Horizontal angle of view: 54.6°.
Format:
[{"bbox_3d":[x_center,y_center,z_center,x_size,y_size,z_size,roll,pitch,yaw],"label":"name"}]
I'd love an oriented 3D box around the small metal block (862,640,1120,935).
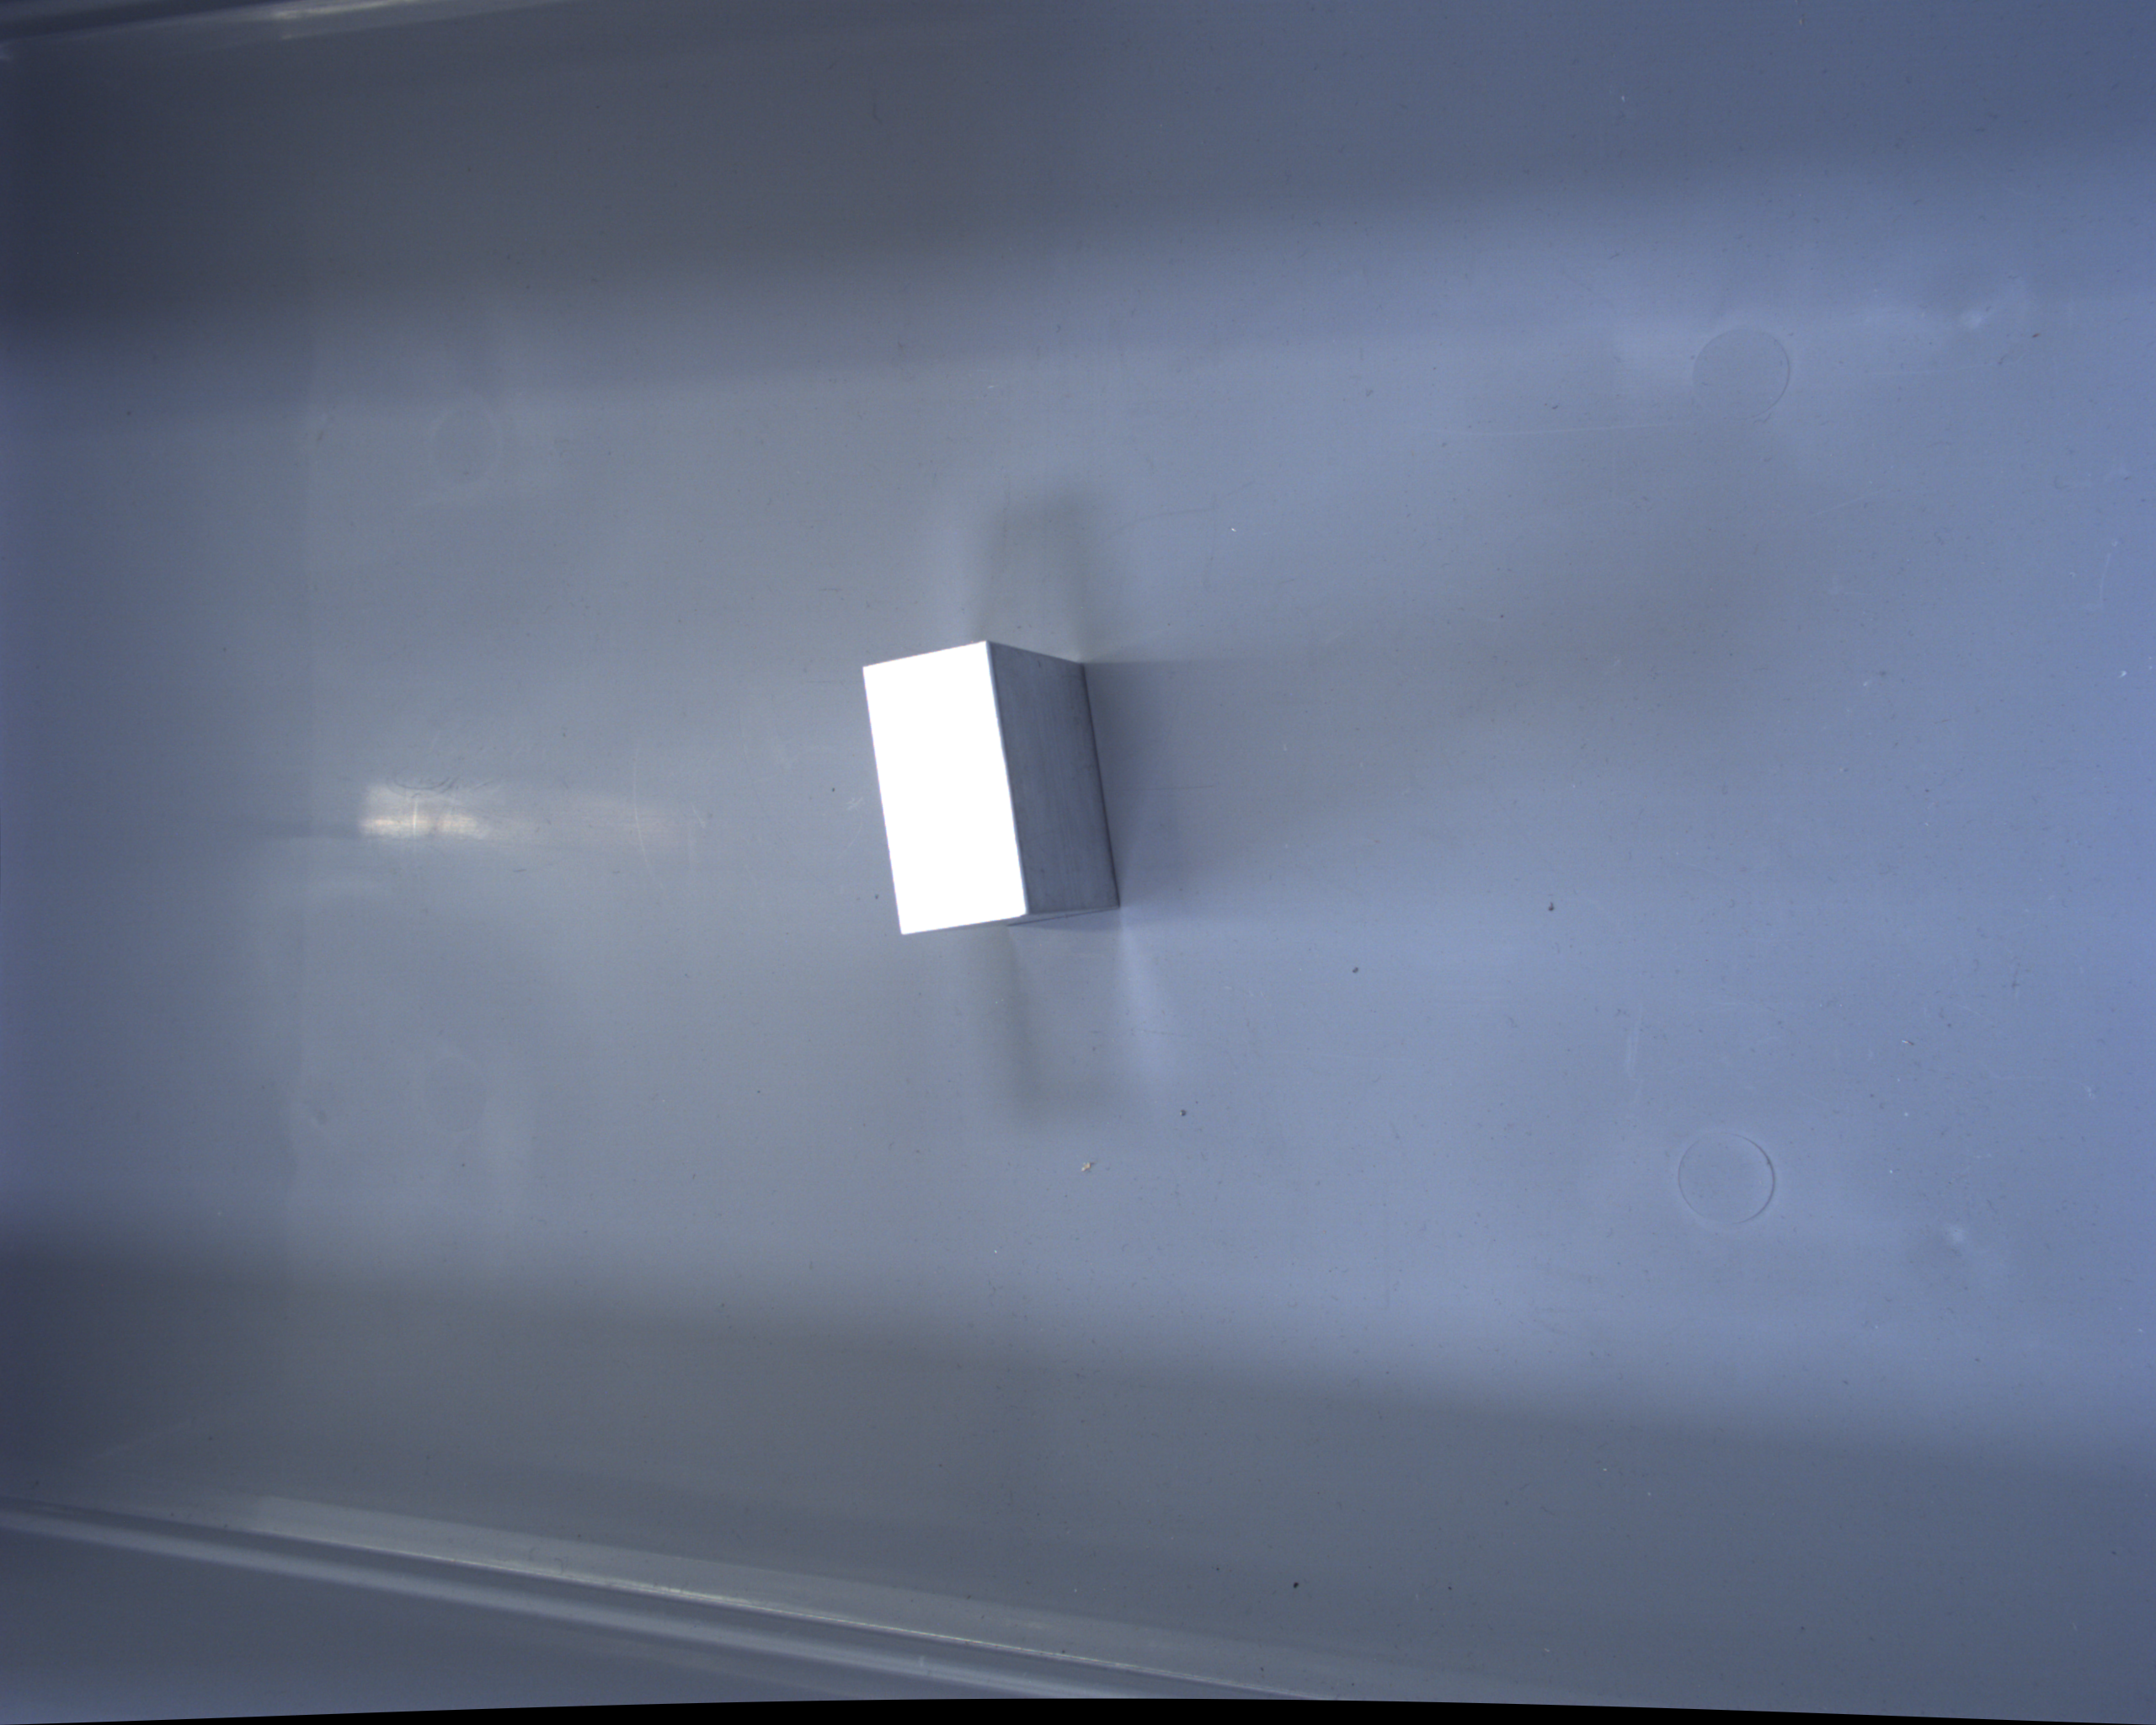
[{"bbox_3d":[-0.016,-0.013,0.399,0.025,0.050,0.050,-9,86,20],"label":"small metal block"}]
